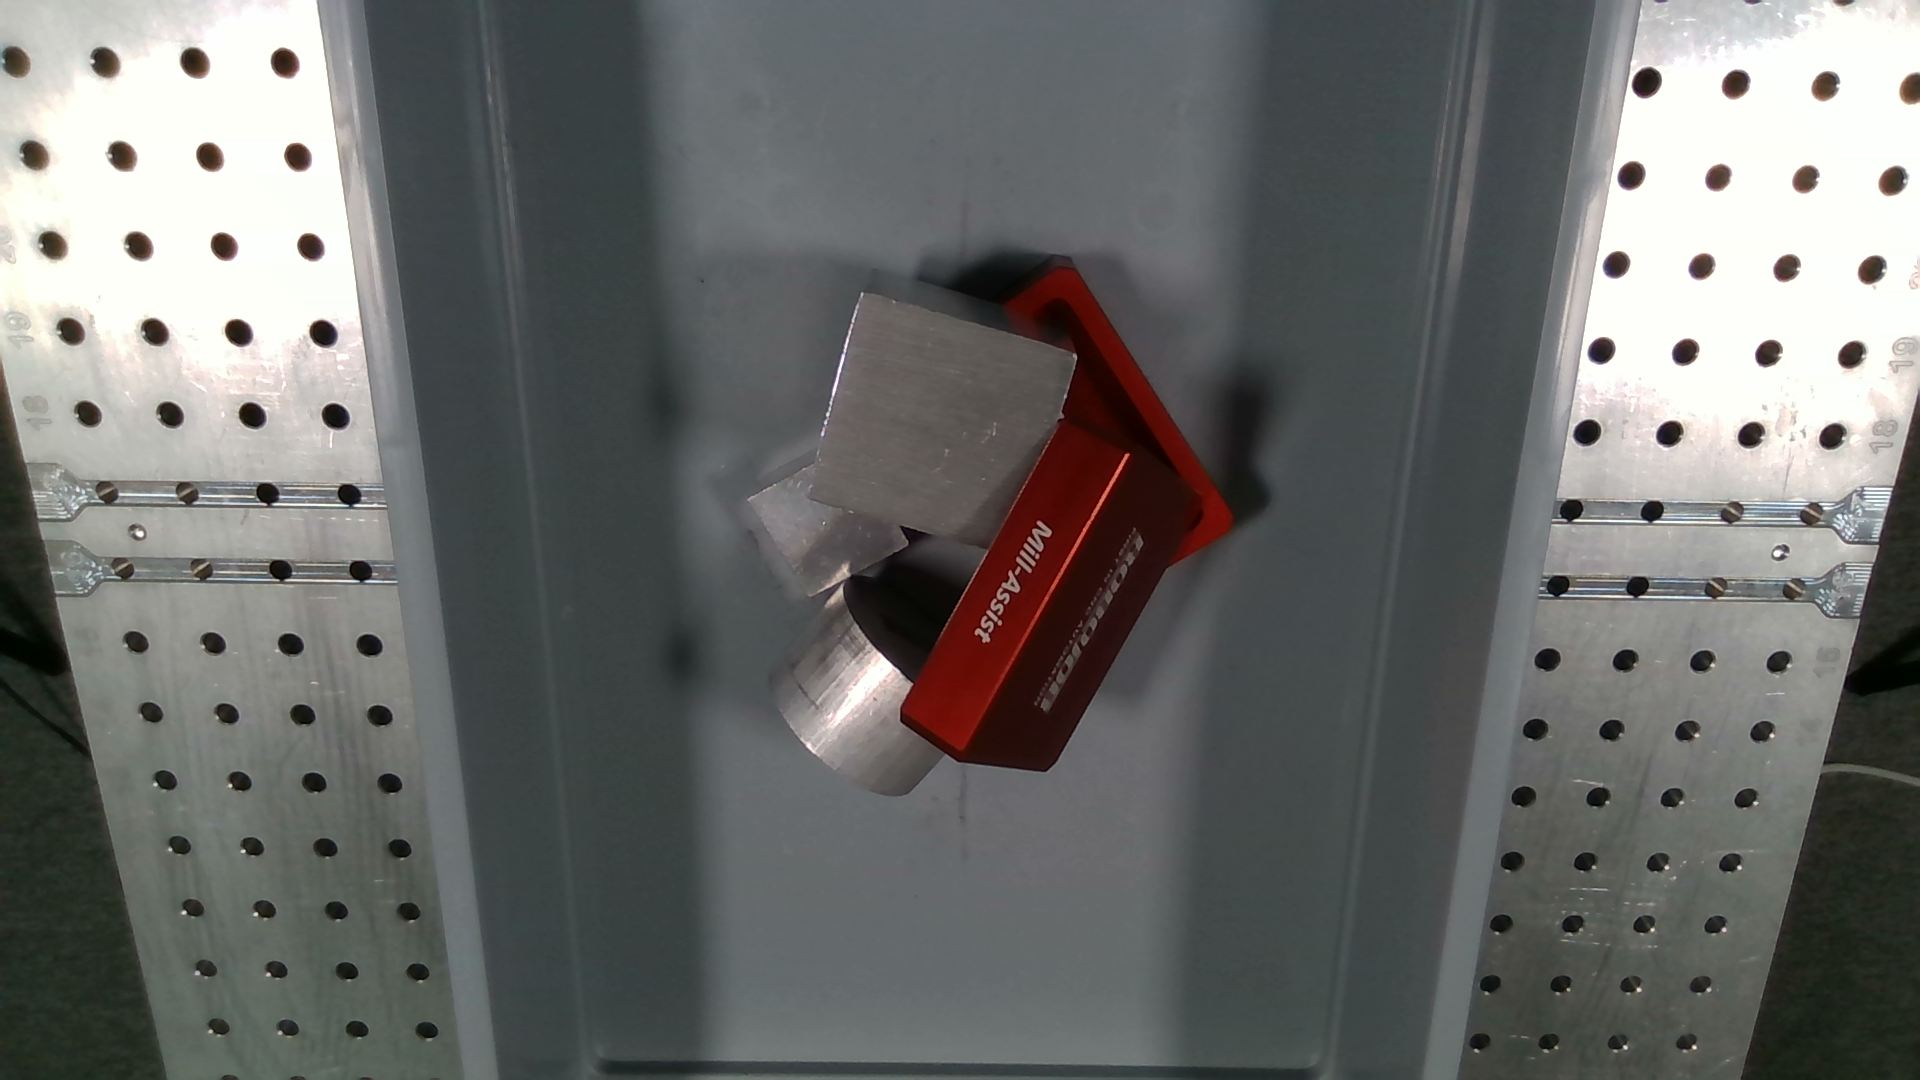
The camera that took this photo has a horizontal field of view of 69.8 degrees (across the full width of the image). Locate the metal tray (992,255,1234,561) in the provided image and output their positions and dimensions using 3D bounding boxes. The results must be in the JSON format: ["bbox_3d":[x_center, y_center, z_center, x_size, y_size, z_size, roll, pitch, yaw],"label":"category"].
[{"bbox_3d":[0.041,-0.038,0.566,0.090,0.030,0.130,-32,107,11],"label":"metal tray"}]

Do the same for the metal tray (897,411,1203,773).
[{"bbox_3d":[0.037,0.024,0.527,0.030,0.090,0.130,31,94,29],"label":"metal tray"}]

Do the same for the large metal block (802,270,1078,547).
[{"bbox_3d":[-0.008,-0.049,0.518,0.080,0.050,0.080,15,110,-6],"label":"large metal block"}]

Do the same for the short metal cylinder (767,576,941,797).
[{"bbox_3d":[-0.033,0.061,0.577,0.080,0.080,0.050,37,106,-13],"label":"short metal cylinder"}]

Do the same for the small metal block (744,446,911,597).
[{"bbox_3d":[-0.054,-0.012,0.579,0.050,0.025,0.050,-27,108,10],"label":"small metal block"}]
